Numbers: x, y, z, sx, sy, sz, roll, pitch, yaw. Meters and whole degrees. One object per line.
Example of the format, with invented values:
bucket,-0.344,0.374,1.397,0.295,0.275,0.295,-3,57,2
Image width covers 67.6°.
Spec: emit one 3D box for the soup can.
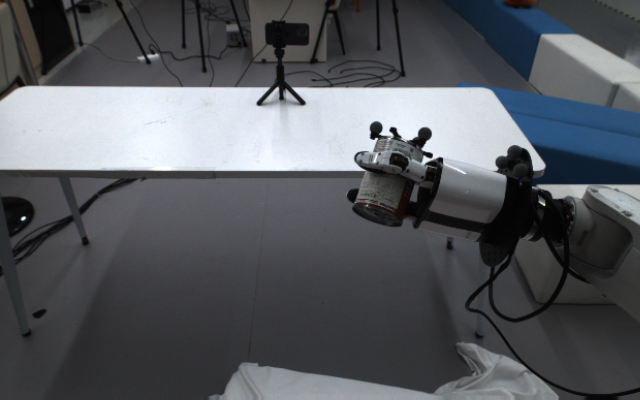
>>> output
soup can,0.091,-0.024,0.637,0.067,0.067,0.101,15,75,18
